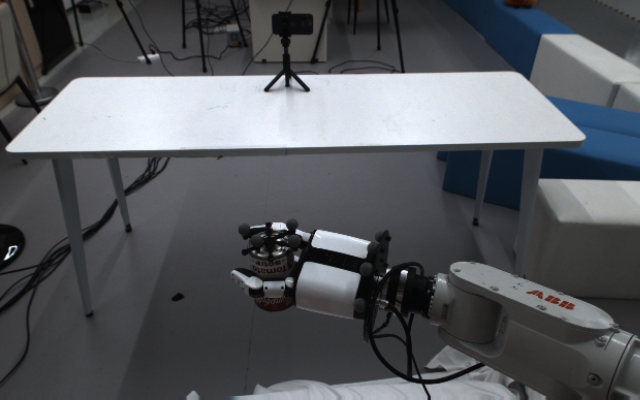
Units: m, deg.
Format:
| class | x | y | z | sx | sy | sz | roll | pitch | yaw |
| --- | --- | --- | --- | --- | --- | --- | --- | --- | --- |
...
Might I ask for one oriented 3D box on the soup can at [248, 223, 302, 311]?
| class | x | y | z | sx | sy | sz | roll | pitch | yaw |
| --- | --- | --- | --- | --- | --- | --- | --- | --- | --- |
| soup can | -0.068 | 0.105 | 0.711 | 0.067 | 0.101 | 0.067 | -2 | 32 | 1 |
